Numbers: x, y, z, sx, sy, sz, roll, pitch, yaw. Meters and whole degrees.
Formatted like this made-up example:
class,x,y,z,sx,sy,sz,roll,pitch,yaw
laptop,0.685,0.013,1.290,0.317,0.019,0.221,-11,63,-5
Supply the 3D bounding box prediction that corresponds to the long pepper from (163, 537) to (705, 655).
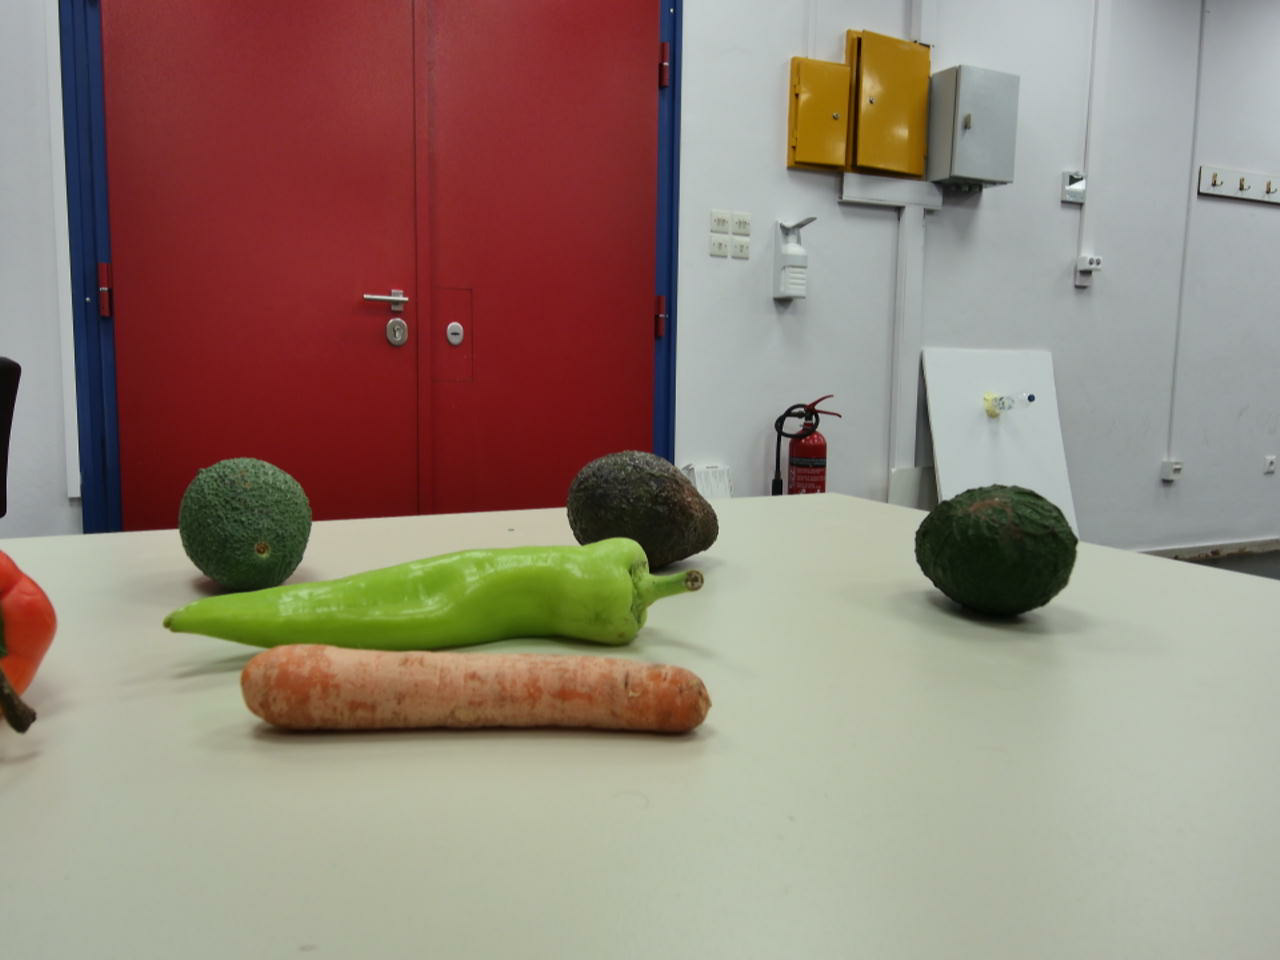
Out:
class,x,y,z,sx,sy,sz,roll,pitch,yaw
long pepper,-0.079,0.049,0.417,0.204,0.045,0.065,-1,4,-10
